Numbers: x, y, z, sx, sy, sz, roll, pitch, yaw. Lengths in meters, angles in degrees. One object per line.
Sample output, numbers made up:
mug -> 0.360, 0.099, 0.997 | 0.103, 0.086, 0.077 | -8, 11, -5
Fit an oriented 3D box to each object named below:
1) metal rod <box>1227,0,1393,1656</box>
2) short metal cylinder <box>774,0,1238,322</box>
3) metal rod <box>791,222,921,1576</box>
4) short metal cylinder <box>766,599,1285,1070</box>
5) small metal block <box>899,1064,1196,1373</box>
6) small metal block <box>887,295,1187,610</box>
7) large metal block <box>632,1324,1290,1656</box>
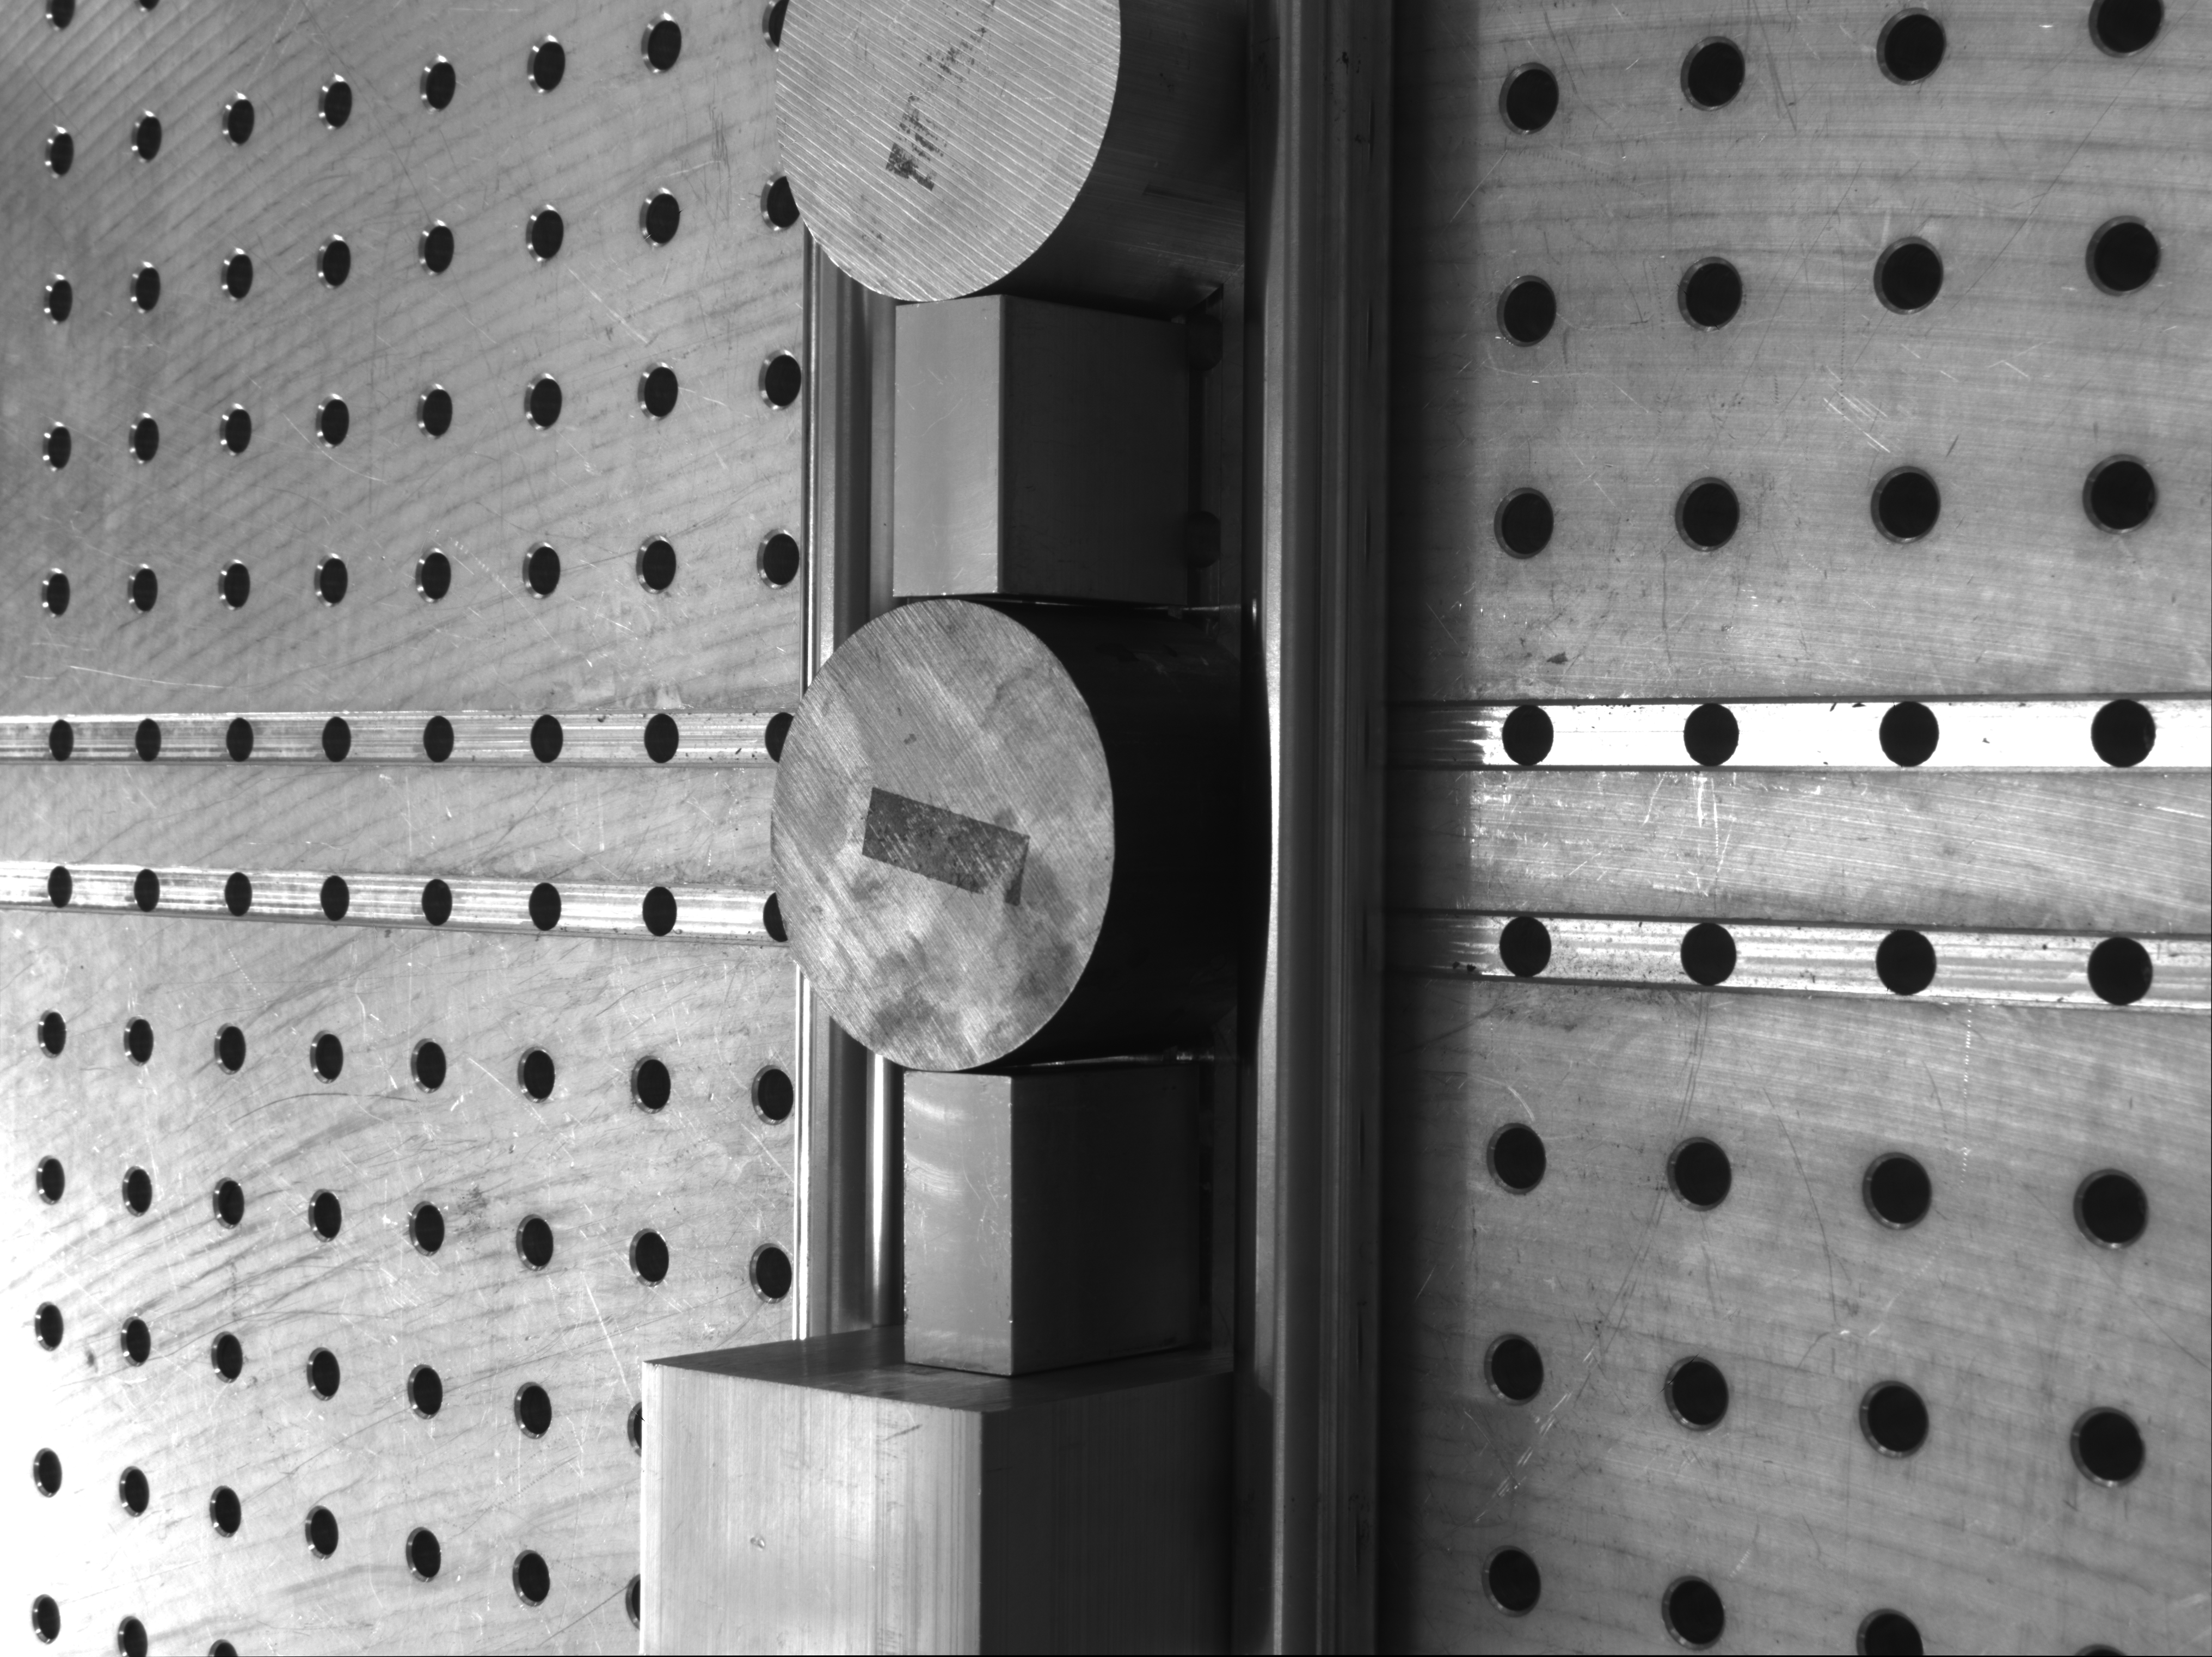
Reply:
metal rod -> 0.034, -0.005, 0.618 | 0.025, 0.025, 0.300 | 1, 90, 40
short metal cylinder -> -0.012, -0.129, 0.642 | 0.080, 0.050, 0.080 | 0, 90, 40
metal rod -> -0.045, -0.005, 0.685 | 0.025, 0.025, 0.300 | 1, 90, 40
short metal cylinder -> -0.013, 0.001, 0.643 | 0.080, 0.050, 0.080 | 0, 90, 40
small metal block -> -0.010, 0.067, 0.639 | 0.025, 0.050, 0.050 | 0, 90, 40
small metal block -> -0.012, -0.064, 0.640 | 0.025, 0.050, 0.050 | 1, 90, 40
large metal block -> -0.024, 0.116, 0.632 | 0.080, 0.080, 0.050 | 1, 90, 40
